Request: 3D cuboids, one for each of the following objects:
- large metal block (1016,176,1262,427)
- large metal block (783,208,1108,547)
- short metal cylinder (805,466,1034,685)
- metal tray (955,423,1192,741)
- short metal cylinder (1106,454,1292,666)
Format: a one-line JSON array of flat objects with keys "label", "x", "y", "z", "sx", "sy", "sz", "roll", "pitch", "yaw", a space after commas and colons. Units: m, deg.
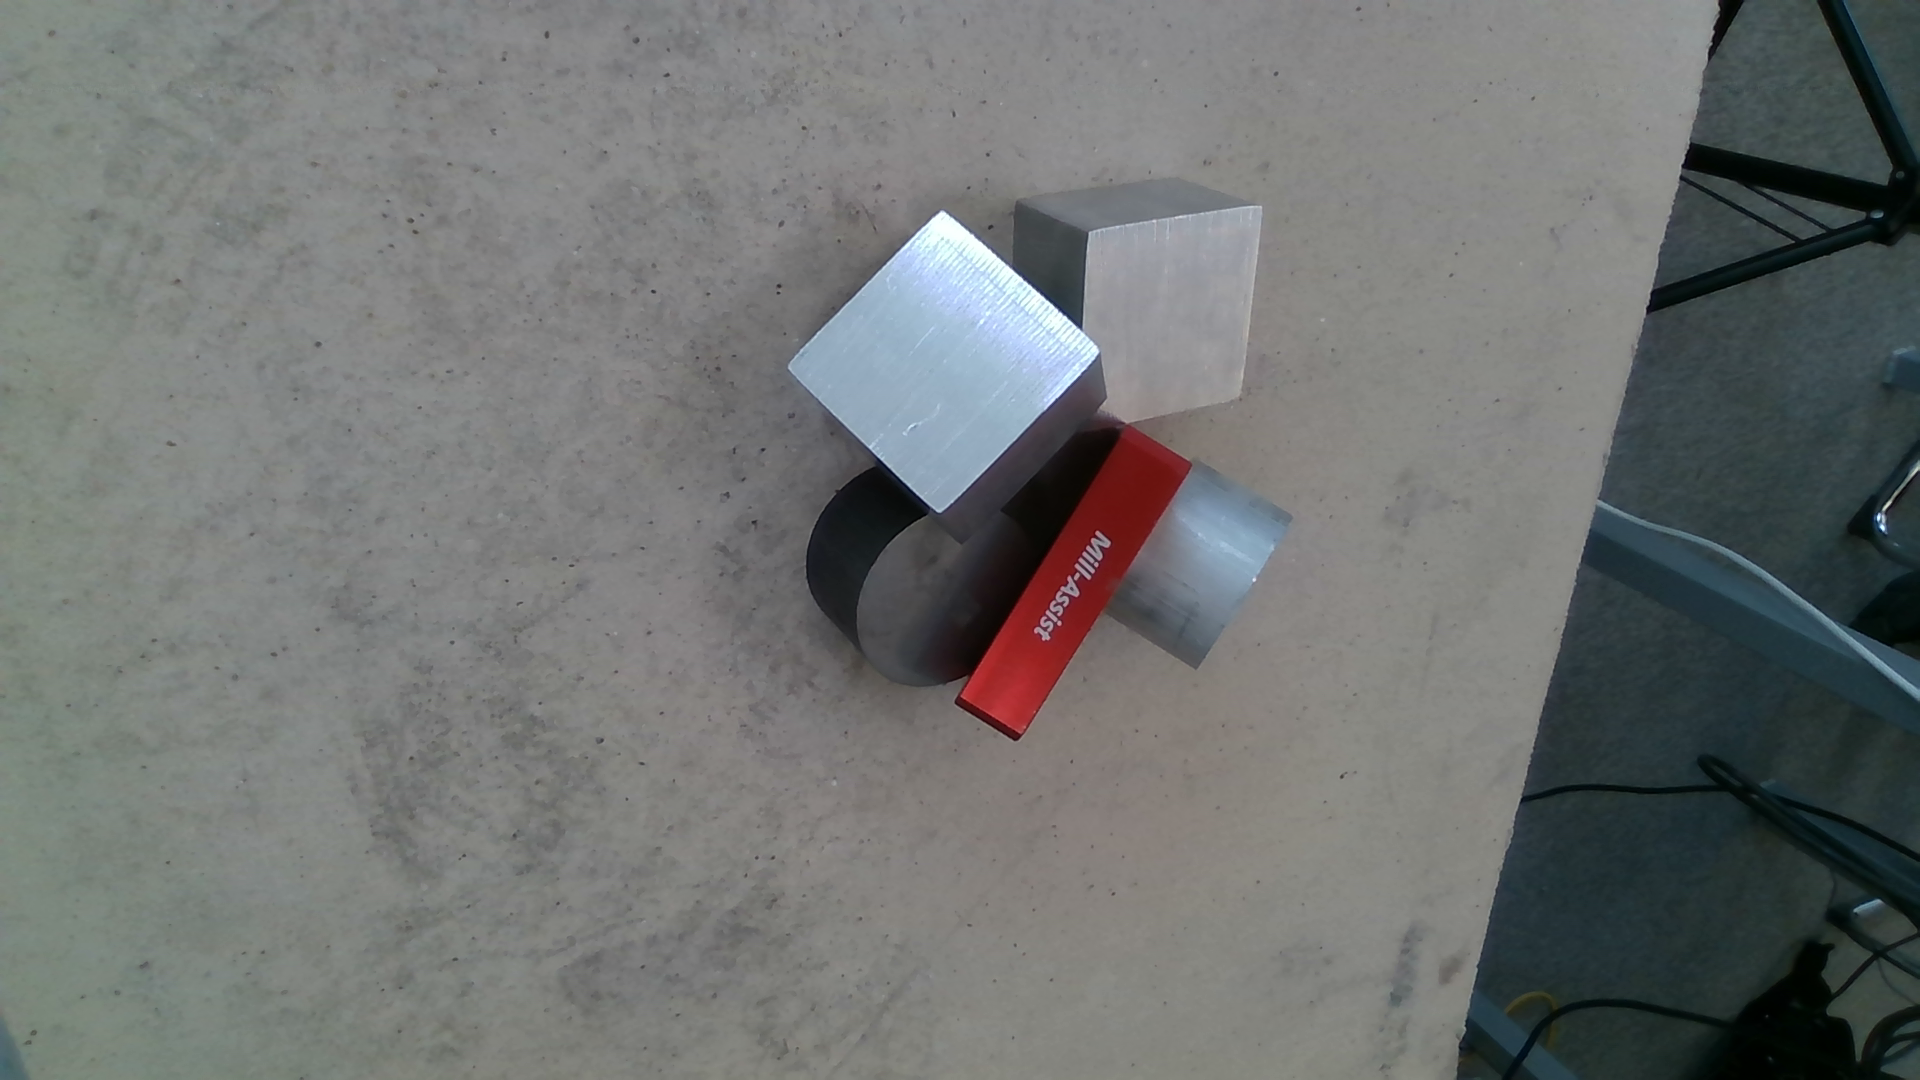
[{"label": "large metal block", "x": 0.069, "y": -0.097, "z": 0.553, "sx": 0.080, "sy": 0.050, "sz": 0.080, "roll": -14, "pitch": 121, "yaw": -25}, {"label": "large metal block", "x": -0.003, "y": -0.058, "z": 0.504, "sx": 0.080, "sy": 0.080, "sz": 0.050, "roll": -45, "pitch": 165, "yaw": -3}, {"label": "short metal cylinder", "x": -0.017, "y": 0.012, "z": 0.563, "sx": 0.080, "sy": 0.050, "sz": 0.080, "roll": -14, "pitch": 122, "yaw": -25}, {"label": "metal tray", "x": 0.047, "y": 0.013, "z": 0.577, "sx": 0.030, "sy": 0.090, "sz": 0.130, "roll": 31, "pitch": 98, "yaw": 1}, {"label": "short metal cylinder", "x": 0.104, "y": 0.009, "z": 0.609, "sx": 0.080, "sy": 0.050, "sz": 0.080, "roll": -55, "pitch": 169, "yaw": -16}]
